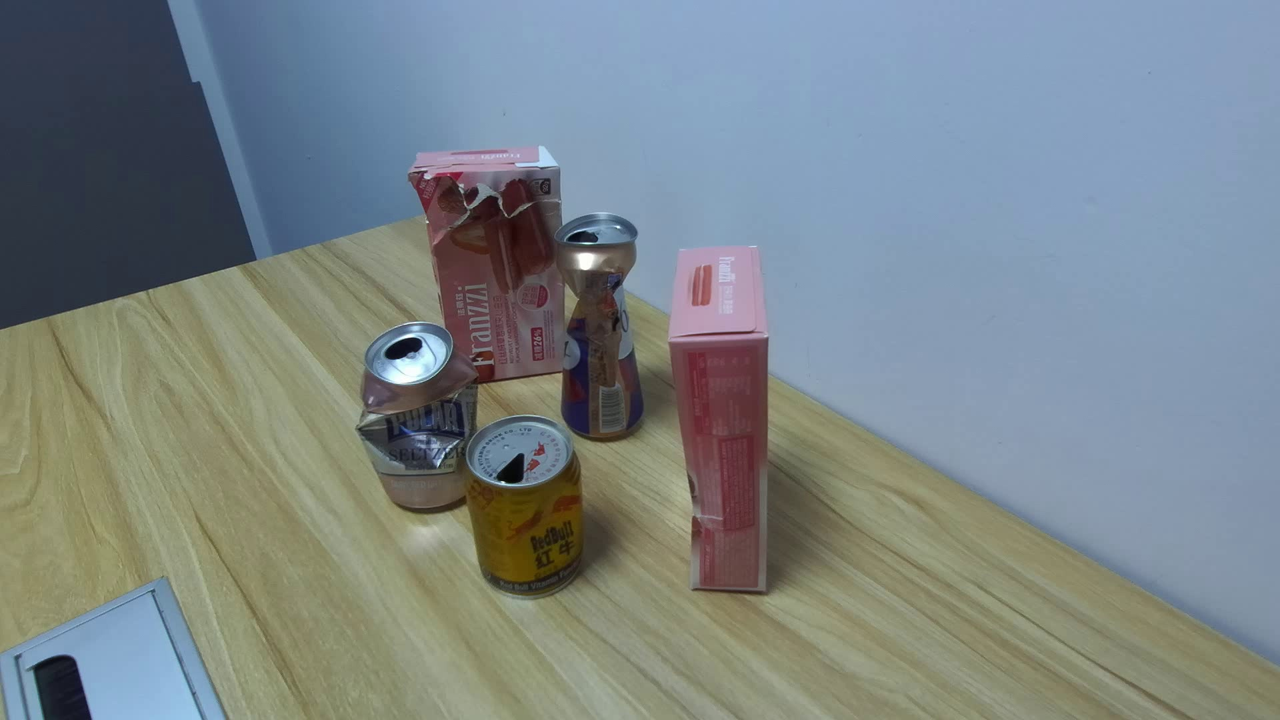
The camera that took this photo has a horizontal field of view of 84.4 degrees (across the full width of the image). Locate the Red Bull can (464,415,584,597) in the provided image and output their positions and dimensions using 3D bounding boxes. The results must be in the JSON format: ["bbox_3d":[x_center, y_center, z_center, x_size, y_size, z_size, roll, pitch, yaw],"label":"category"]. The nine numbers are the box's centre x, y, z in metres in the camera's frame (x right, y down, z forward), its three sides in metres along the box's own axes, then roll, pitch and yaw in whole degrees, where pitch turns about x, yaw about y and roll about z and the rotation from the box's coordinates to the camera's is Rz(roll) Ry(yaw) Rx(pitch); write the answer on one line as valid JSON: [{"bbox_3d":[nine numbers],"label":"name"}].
[{"bbox_3d":[-0.068,0.088,0.421,0.069,0.092,0.069,0,33,0],"label":"Red Bull can"}]

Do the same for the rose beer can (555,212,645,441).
[{"bbox_3d":[-0.027,-0.021,0.518,0.068,0.162,0.073,-18,37,-24],"label":"rose beer can"}]

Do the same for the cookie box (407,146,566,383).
[{"bbox_3d":[-0.113,-0.068,0.561,0.105,0.186,0.059,-7,35,-11],"label":"cookie box"}]

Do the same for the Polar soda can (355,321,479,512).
[{"bbox_3d":[-0.144,0.042,0.465,0.066,0.122,0.071,31,45,29],"label":"Polar soda can"}]

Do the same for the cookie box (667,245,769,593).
[{"bbox_3d":[0.049,0.041,0.406,0.049,0.188,0.105,-2,34,8],"label":"cookie box"}]
